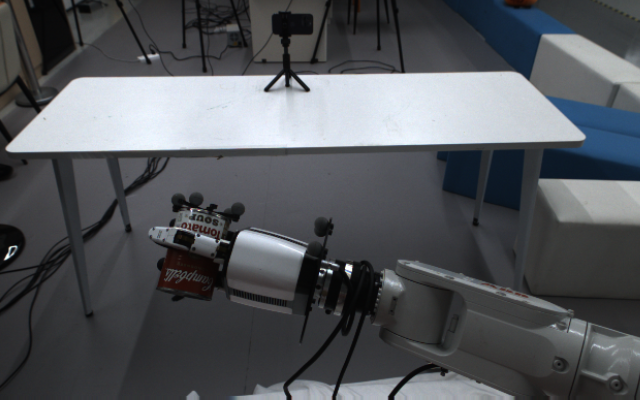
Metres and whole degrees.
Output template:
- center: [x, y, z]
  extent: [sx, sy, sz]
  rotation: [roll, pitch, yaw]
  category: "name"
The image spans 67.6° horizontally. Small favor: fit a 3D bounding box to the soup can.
- center: [-0.154, 0.068, 0.595]
  extent: [0.067, 0.067, 0.101]
  rotation: [8, 72, 9]
  category: "soup can"
